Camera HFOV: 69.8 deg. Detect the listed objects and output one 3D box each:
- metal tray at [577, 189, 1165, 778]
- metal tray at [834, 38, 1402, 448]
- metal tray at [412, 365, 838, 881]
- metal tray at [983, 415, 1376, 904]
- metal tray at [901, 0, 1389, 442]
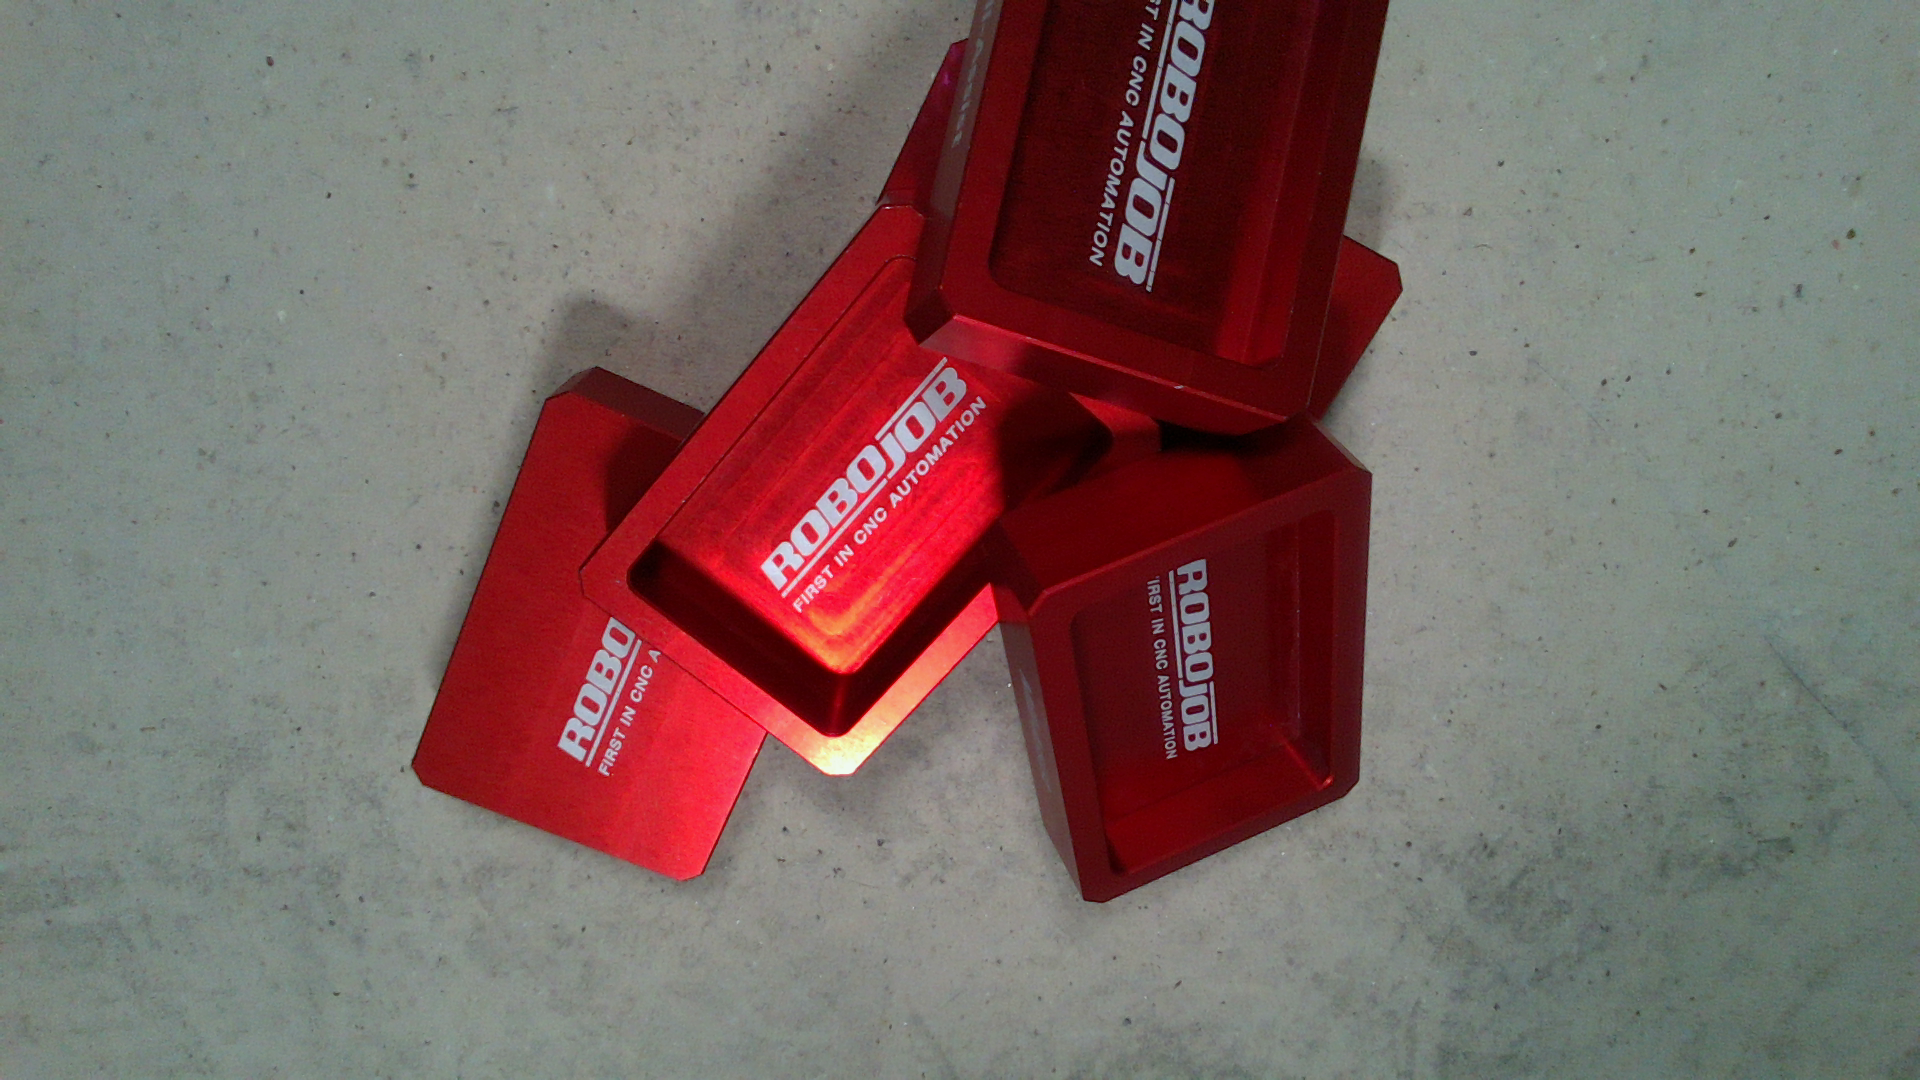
[{"bbox_3d":[-0.023,-0.012,0.355,0.090,0.030,0.130,39,105,-13],"label":"metal tray"},{"bbox_3d":[0.038,-0.064,0.368,0.130,0.030,0.090,25,108,-9],"label":"metal tray"},{"bbox_3d":[-0.093,0.027,0.400,0.090,0.030,0.130,23,108,-8],"label":"metal tray"},{"bbox_3d":[0.062,0.036,0.368,0.090,0.030,0.130,-22,134,-9],"label":"metal tray"},{"bbox_3d":[0.046,-0.098,0.319,0.090,0.030,0.130,15,82,-16],"label":"metal tray"}]
